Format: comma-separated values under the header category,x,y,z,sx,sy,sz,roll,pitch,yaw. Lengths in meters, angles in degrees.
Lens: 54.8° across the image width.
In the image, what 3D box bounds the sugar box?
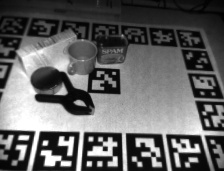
category,x,y,z,sx,sy,sz,roll,pitch,yaw
sugar box,-0.193,-0.105,0.667,0.178,0.093,0.045,-30,63,-25

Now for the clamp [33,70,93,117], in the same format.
category,x,y,z,sx,sy,sz,roll,pitch,yaw
clamp,-0.124,0.033,0.620,0.164,0.036,0.122,36,55,10

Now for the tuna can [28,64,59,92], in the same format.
category,x,y,z,sx,sy,sz,roll,pitch,yaw
tuna can,-0.200,-0.020,0.638,0.086,0.034,0.085,4,58,-5

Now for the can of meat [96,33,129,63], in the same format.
category,x,y,z,sx,sy,sz,roll,pitch,yaw
can of meat,-0.001,-0.120,0.709,0.102,0.084,0.057,-3,56,-11

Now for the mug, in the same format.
category,x,y,z,sx,sy,sz,roll,pitch,yaw
mug,-0.101,-0.089,0.665,0.093,0.081,0.117,25,59,9
